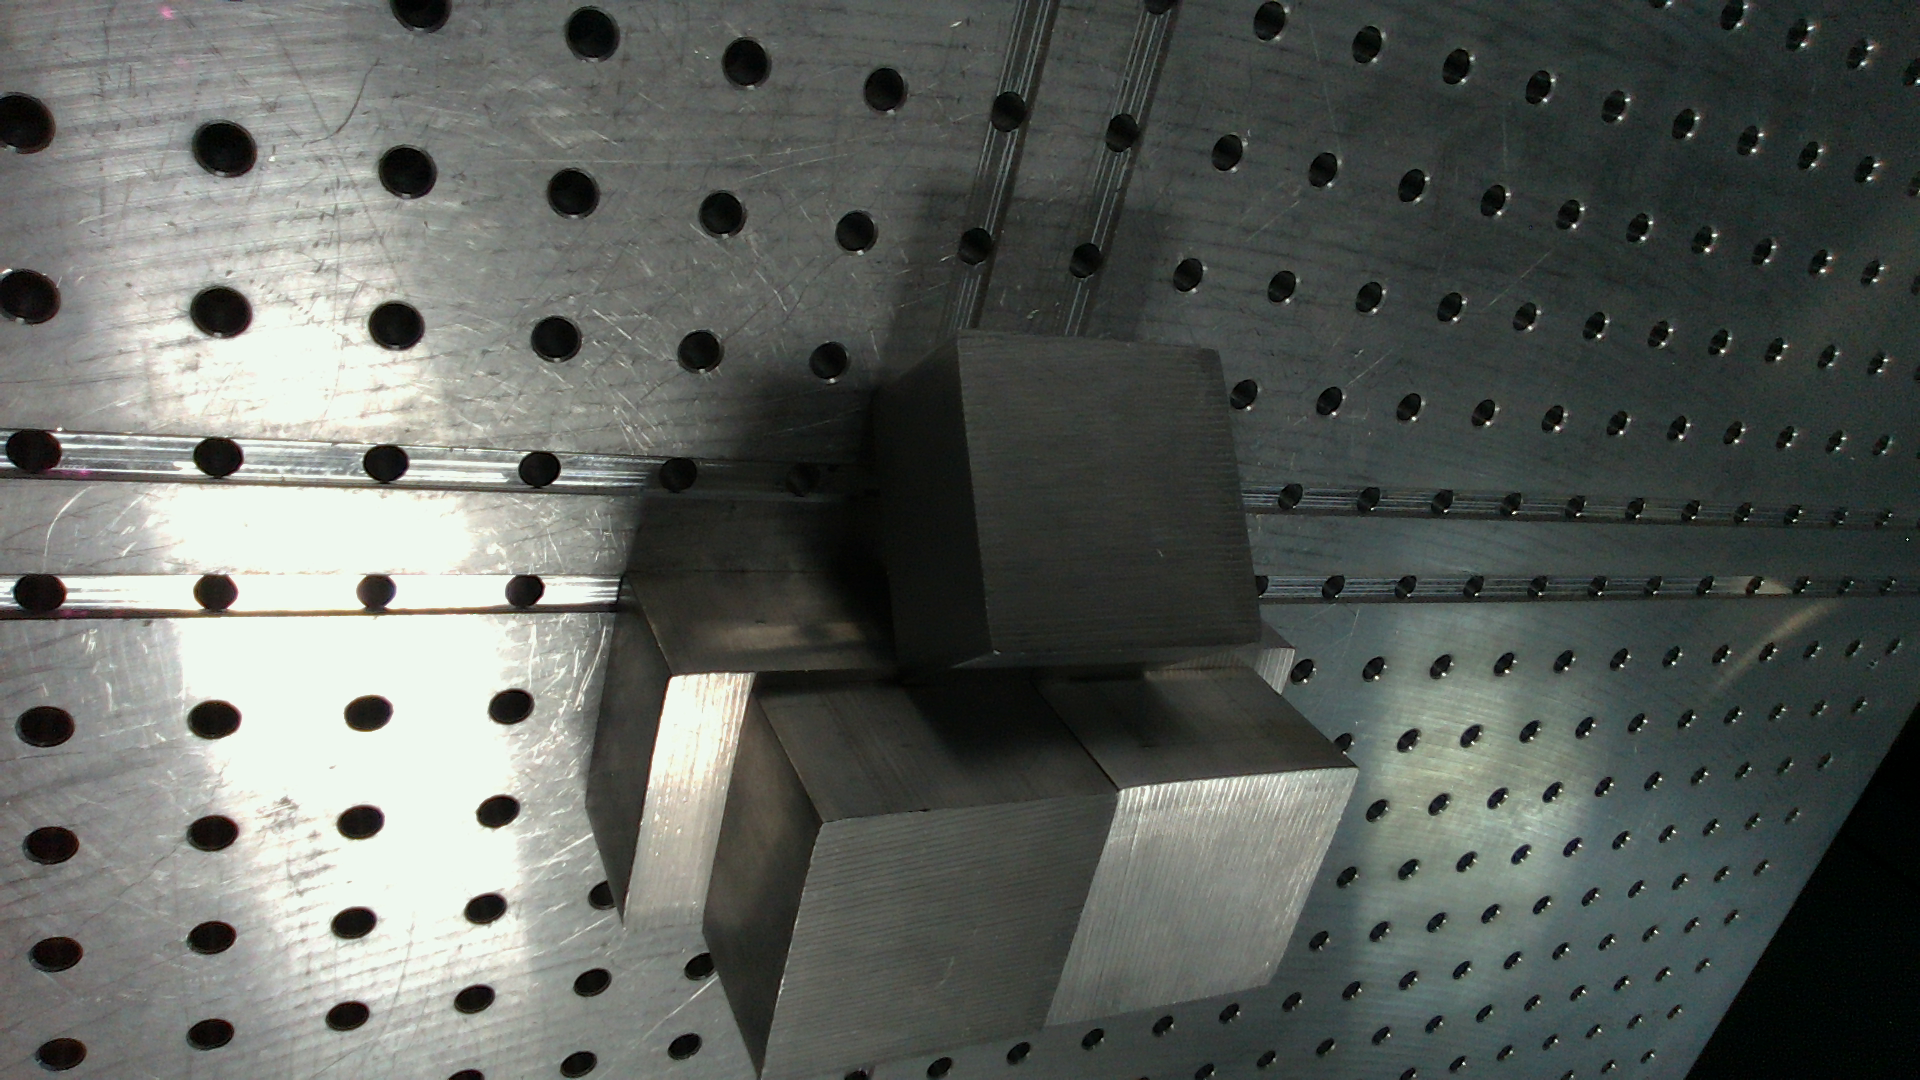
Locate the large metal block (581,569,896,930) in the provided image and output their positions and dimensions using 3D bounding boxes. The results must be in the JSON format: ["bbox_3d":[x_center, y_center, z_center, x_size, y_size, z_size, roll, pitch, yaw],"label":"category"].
[{"bbox_3d":[-0.054,0.056,0.382,0.080,0.050,0.080,1,118,-29],"label":"large metal block"}]

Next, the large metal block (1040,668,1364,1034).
[{"bbox_3d":[0.056,0.086,0.392,0.080,0.050,0.080,0,119,-28],"label":"large metal block"}]

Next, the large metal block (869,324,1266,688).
[{"bbox_3d":[0.027,-0.007,0.360,0.080,0.050,0.080,0,76,-29],"label":"large metal block"}]

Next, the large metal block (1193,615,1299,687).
[{"bbox_3d":[0.049,0.056,0.436,0.080,0.050,0.080,-1,119,-28],"label":"large metal block"}]

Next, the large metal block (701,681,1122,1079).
[{"bbox_3d":[-0.015,0.084,0.352,0.080,0.050,0.080,0,119,-28],"label":"large metal block"}]
